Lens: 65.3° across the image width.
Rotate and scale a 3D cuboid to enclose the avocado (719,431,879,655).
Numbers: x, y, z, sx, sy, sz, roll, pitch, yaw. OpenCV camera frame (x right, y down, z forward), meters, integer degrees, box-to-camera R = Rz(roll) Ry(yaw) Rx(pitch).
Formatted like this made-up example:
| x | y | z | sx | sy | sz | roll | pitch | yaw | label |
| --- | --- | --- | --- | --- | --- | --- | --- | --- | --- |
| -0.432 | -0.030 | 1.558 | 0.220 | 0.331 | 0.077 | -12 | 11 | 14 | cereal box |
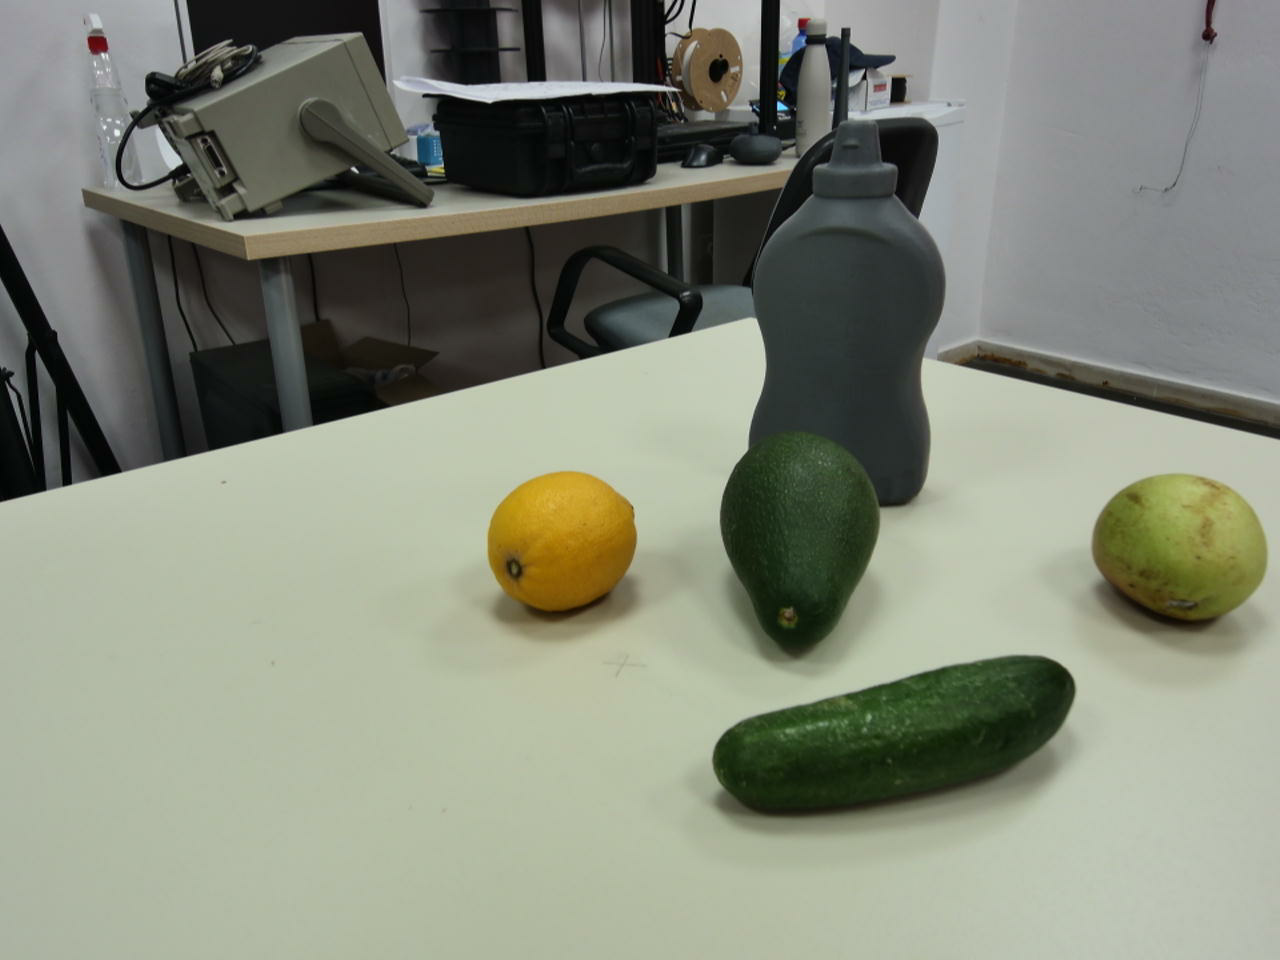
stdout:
| x | y | z | sx | sy | sz | roll | pitch | yaw | label |
| --- | --- | --- | --- | --- | --- | --- | --- | --- | --- |
| 0.066 | 0.020 | 0.437 | 0.073 | 0.071 | 0.109 | 10 | 25 | 26 | avocado |
